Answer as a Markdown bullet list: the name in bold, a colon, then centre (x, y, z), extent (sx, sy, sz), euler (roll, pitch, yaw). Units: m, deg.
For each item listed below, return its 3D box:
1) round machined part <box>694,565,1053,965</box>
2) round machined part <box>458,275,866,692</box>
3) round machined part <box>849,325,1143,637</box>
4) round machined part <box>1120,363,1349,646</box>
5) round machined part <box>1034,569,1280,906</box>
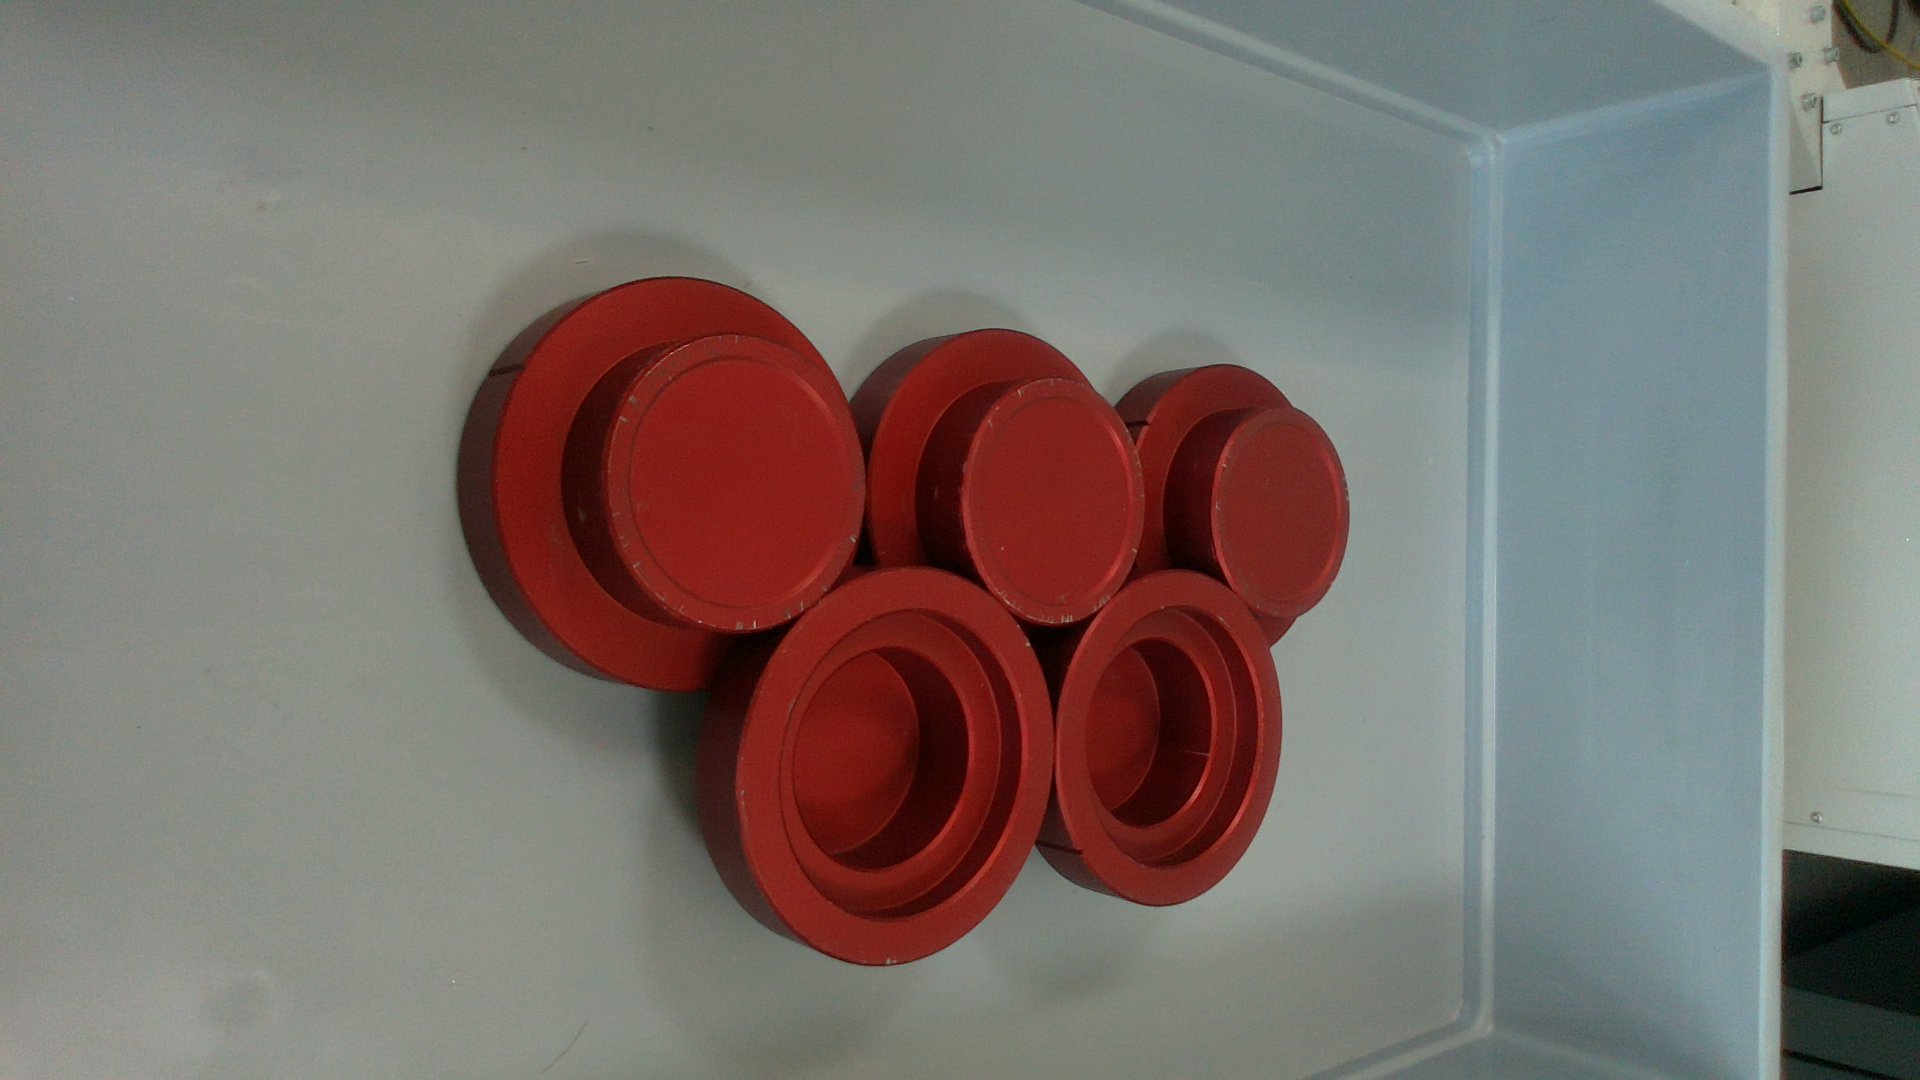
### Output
- **round machined part**: centre (-0.025, 0.055, 0.355), extent (0.098, 0.042, 0.098), euler (0, 90, -40)
- **round machined part**: centre (-0.062, -0.013, 0.323), extent (0.098, 0.042, 0.098), euler (1, 88, -41)
- **round machined part**: centre (0.013, -0.012, 0.386), extent (0.098, 0.042, 0.098), euler (1, 89, -39)
- **round machined part**: centre (0.090, -0.009, 0.449), extent (0.098, 0.042, 0.098), euler (1, 89, -39)
- **round machined part**: centre (0.050, 0.057, 0.418), extent (0.098, 0.042, 0.098), euler (0, 90, -40)
